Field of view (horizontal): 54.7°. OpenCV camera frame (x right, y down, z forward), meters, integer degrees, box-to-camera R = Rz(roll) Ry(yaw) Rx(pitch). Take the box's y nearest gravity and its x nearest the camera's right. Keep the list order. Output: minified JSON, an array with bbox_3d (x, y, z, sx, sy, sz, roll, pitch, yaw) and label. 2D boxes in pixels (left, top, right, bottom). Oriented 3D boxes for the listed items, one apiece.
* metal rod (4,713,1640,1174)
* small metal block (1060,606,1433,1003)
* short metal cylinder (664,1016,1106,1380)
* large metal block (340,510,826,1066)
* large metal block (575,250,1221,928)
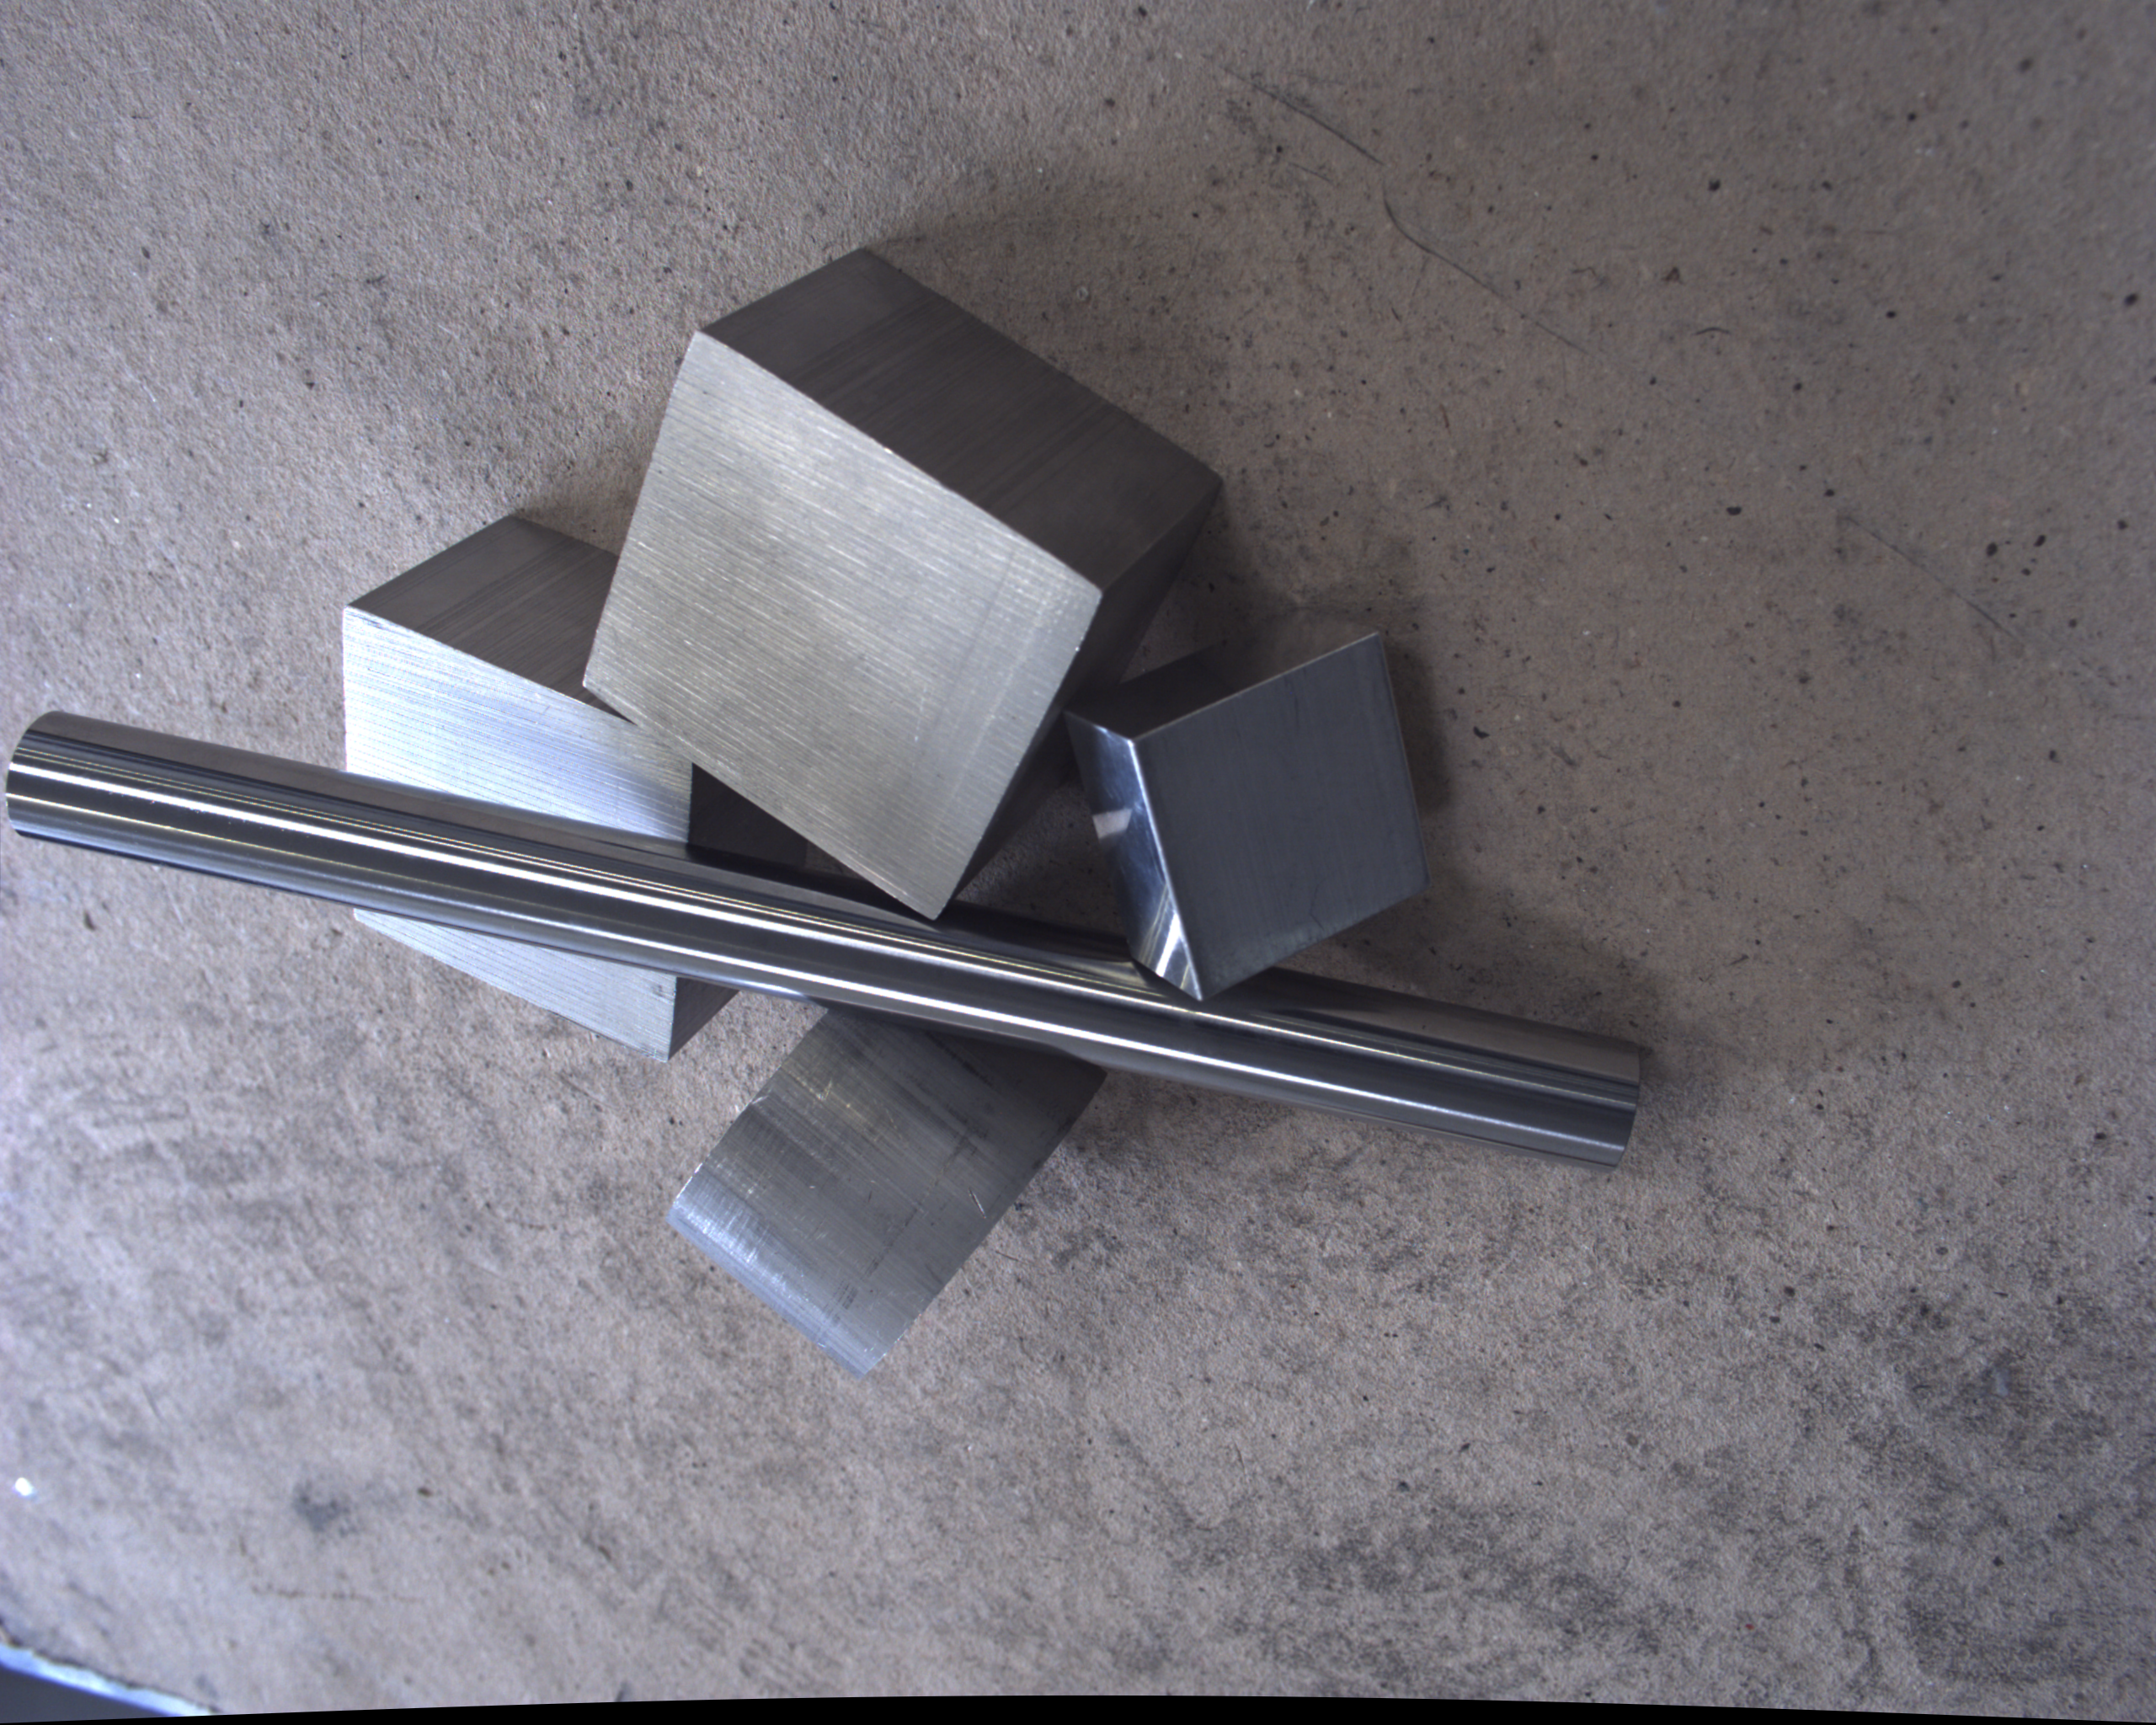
[{"bbox_3d":[-0.048,0.015,0.389,0.302,0.025,0.025,12,125,2],"label":"metal rod"},{"bbox_3d":[0.030,-0.011,0.366,0.025,0.050,0.050,29,140,58],"label":"small metal block"},{"bbox_3d":[-0.039,0.058,0.429,0.050,0.080,0.080,39,129,1],"label":"short metal cylinder"},{"bbox_3d":[-0.103,-0.016,0.436,0.080,0.050,0.079,23,127,14],"label":"large metal block"},{"bbox_3d":[-0.034,-0.049,0.376,0.080,0.050,0.079,34,129,5],"label":"large metal block"}]
